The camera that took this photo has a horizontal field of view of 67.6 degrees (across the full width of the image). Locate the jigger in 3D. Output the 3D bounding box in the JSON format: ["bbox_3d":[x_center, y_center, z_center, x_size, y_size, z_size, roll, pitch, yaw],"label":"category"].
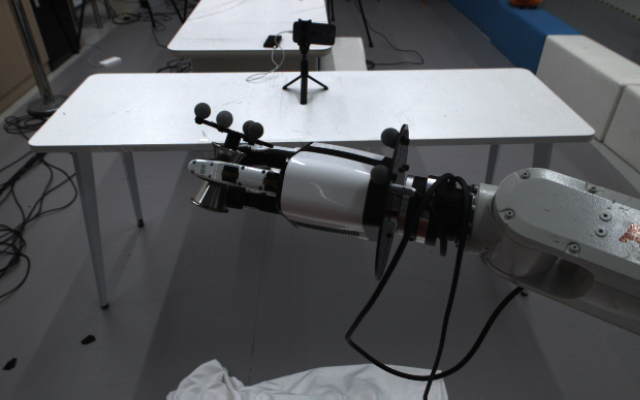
[{"bbox_3d":[-0.110,-0.025,0.526,0.043,0.071,0.043,21,5,-2],"label":"jigger"}]
